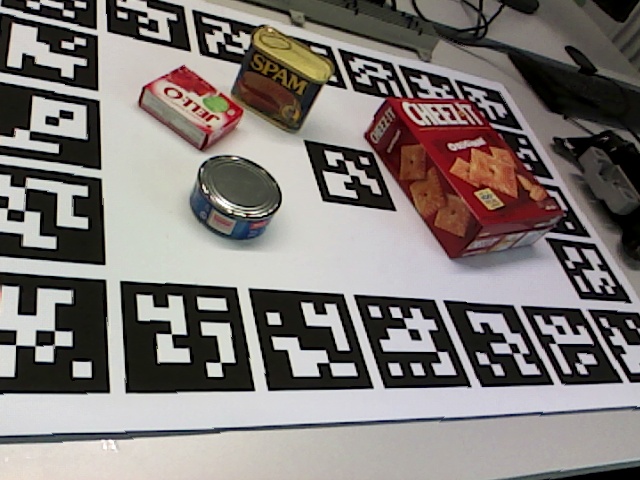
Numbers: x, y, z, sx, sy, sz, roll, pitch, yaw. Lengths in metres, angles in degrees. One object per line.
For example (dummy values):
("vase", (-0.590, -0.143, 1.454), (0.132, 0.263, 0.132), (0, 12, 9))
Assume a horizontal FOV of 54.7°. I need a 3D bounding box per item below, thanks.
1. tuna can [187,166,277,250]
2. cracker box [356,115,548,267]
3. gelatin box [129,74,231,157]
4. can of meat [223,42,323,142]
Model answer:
("tuna can", (-0.089, -0.032, 0.622), (0.085, 0.034, 0.086), (16, 47, -18))
("cracker box", (0.175, -0.074, 0.816), (0.163, 0.072, 0.215), (-9, 54, -40))
("gelatin box", (-0.155, -0.142, 0.695), (0.089, 0.030, 0.073), (37, 37, 1))
("can of meat", (-0.061, -0.180, 0.763), (0.102, 0.084, 0.058), (27, 40, -5))
